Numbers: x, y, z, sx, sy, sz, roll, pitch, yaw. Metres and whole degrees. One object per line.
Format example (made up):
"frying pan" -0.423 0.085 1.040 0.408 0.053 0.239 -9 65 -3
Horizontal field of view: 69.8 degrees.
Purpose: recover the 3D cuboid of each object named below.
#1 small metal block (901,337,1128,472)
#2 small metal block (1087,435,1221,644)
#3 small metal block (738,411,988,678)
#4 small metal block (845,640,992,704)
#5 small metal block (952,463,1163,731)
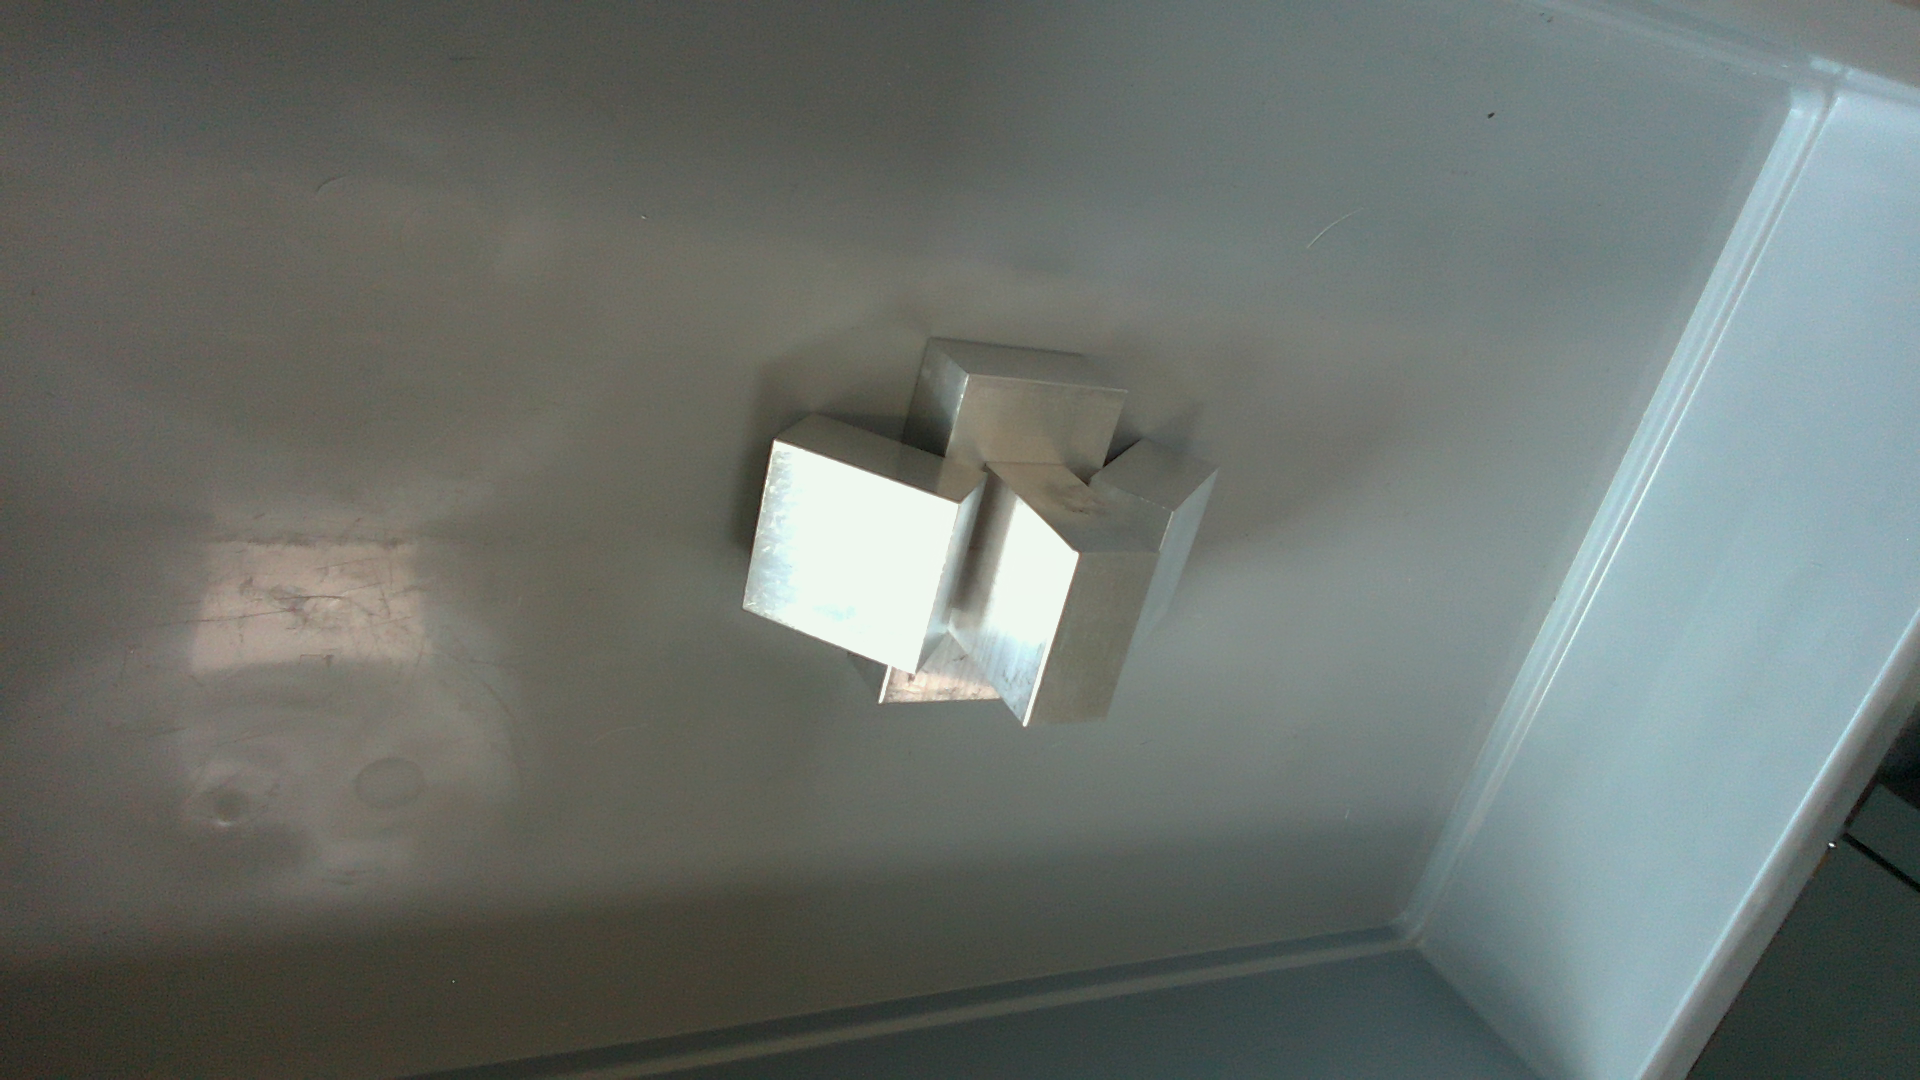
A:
"small metal block" 0.012 -0.025 0.377 0.050 0.025 0.050 2 117 -30
"small metal block" 0.050 0.002 0.400 0.050 0.025 0.050 -35 145 -60
"small metal block" -0.025 0.001 0.356 0.050 0.025 0.050 20 115 10
"small metal block" 0.000 0.019 0.399 0.050 0.025 0.050 3 117 -29
"small metal block" 0.022 0.014 0.359 0.025 0.050 0.050 0 118 -29
